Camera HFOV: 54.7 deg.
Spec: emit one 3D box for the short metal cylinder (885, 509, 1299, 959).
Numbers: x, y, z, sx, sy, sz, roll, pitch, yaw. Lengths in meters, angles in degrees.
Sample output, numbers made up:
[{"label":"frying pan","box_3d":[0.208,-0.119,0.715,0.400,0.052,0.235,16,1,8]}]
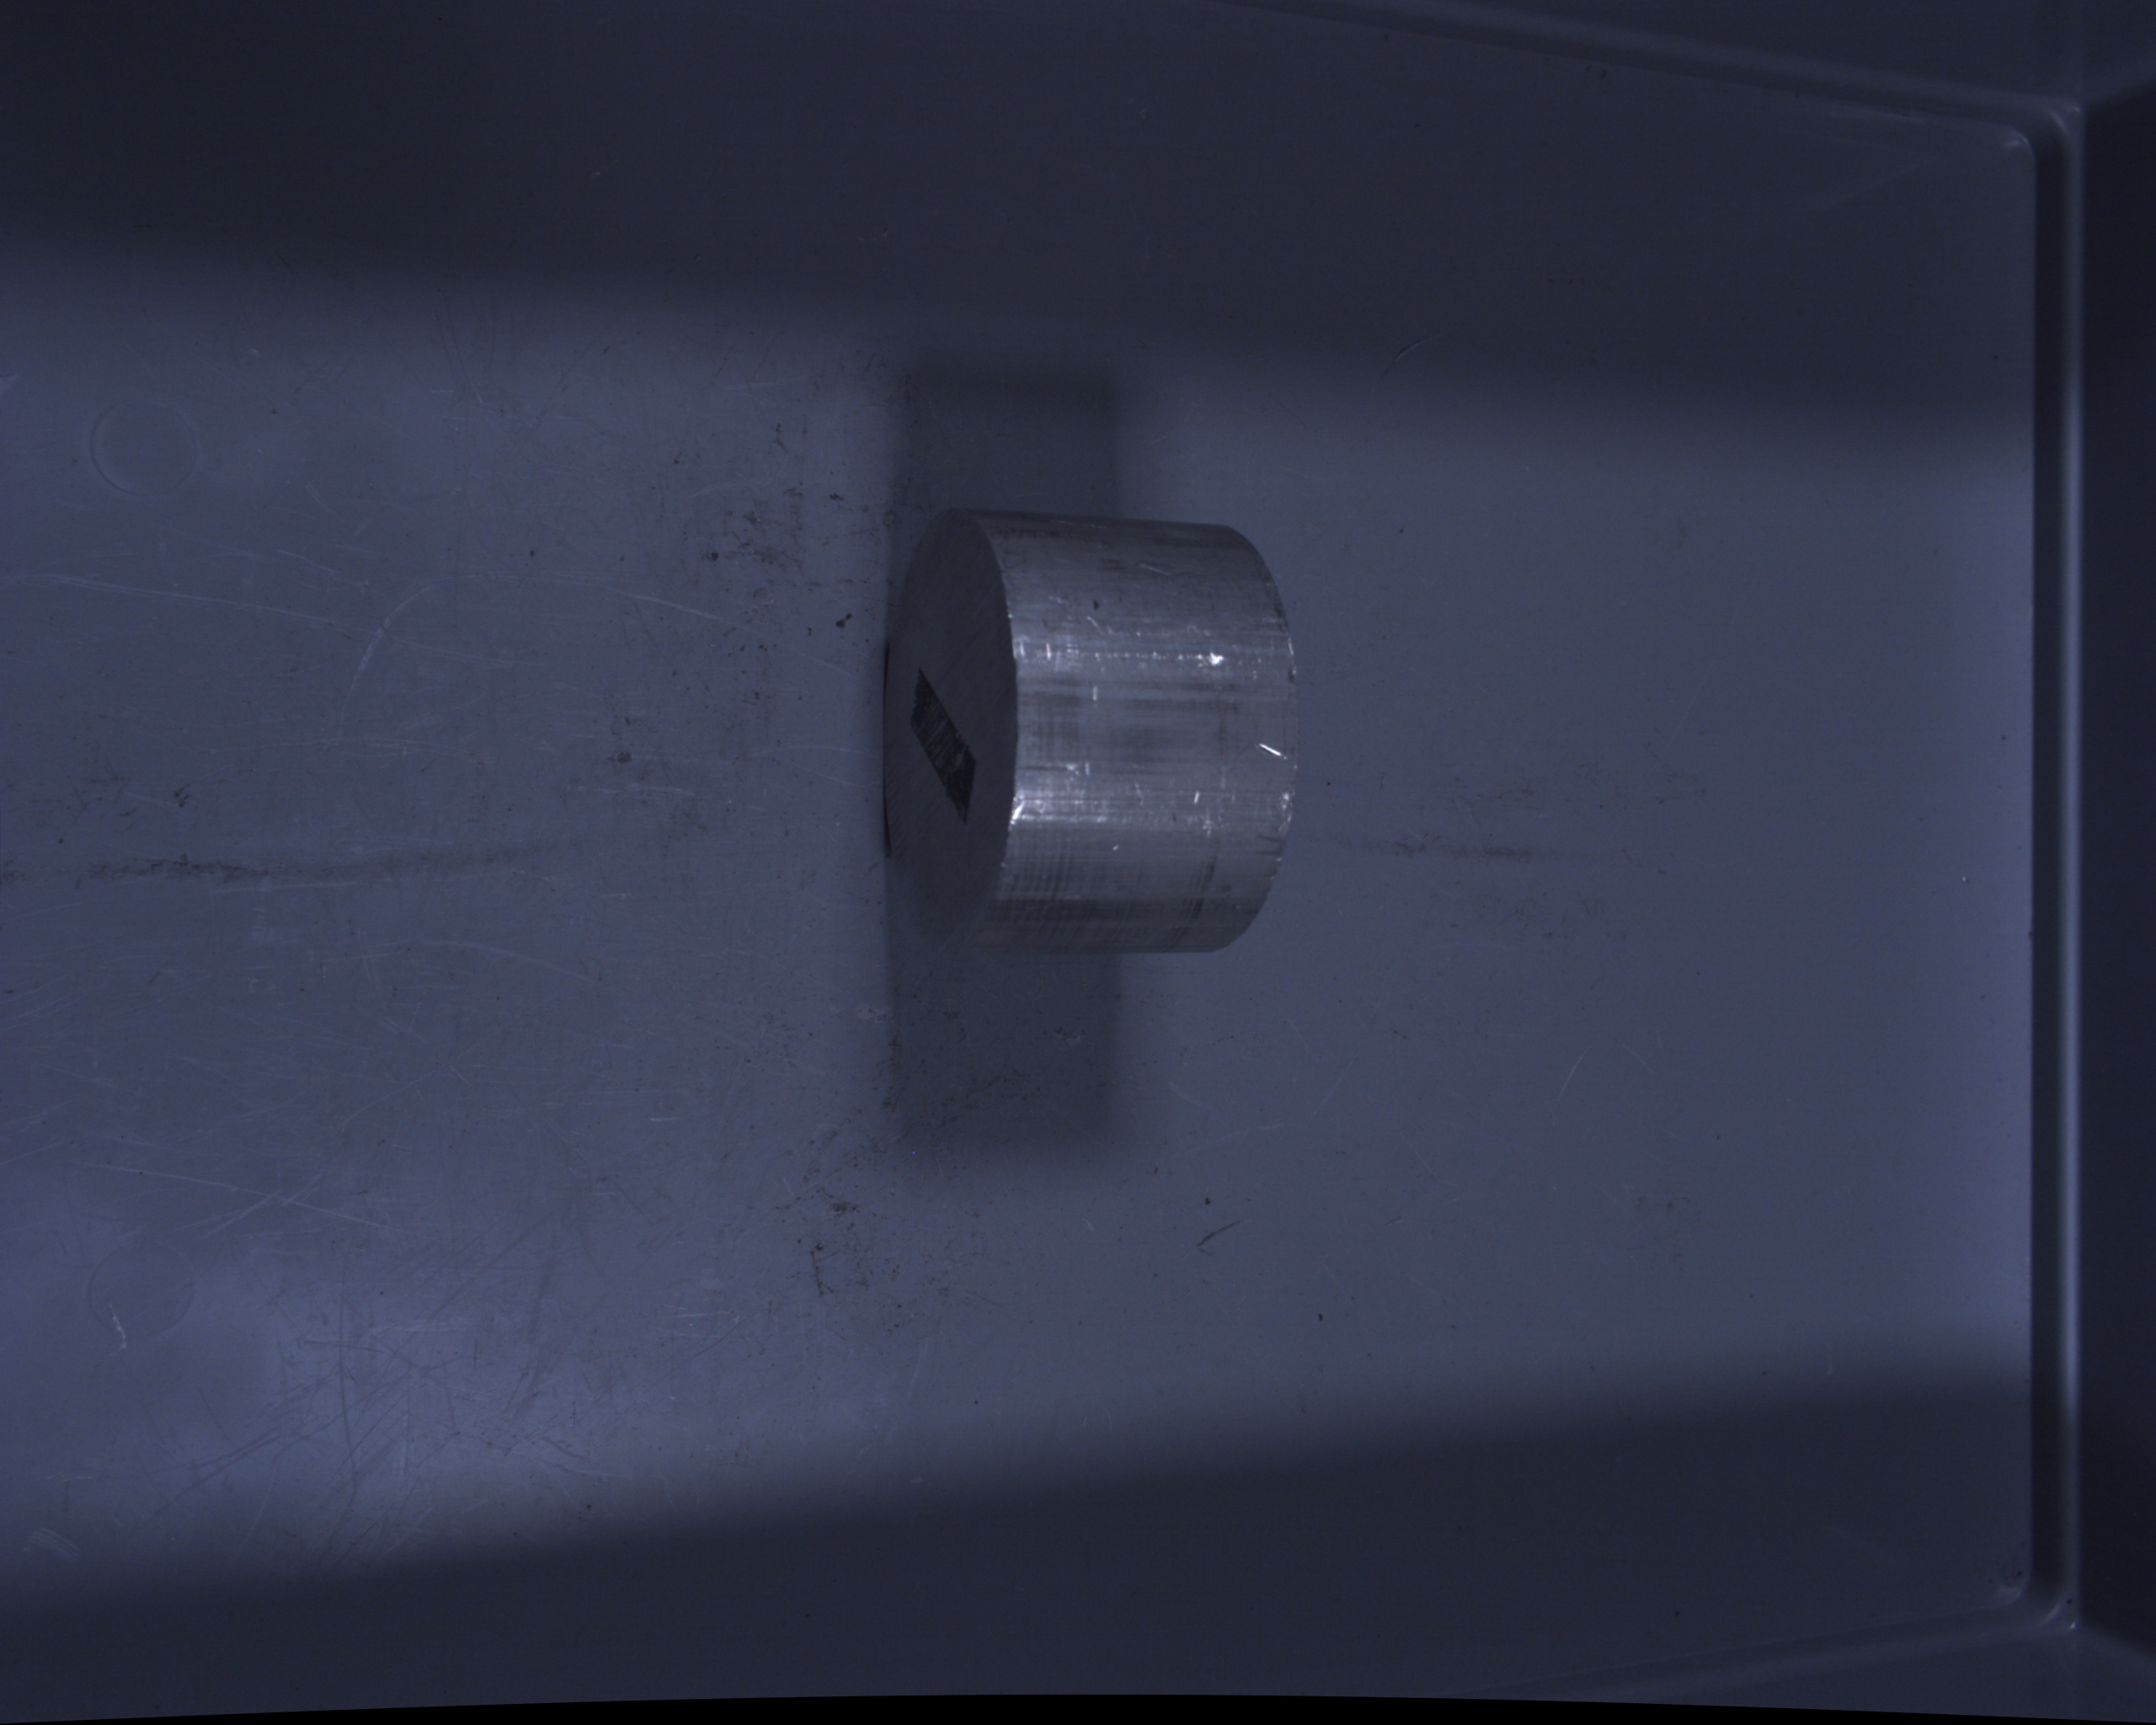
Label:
[{"label":"short metal cylinder","box_3d":[0.000,-0.023,0.380,0.050,0.080,0.079,0,90,-20]}]
